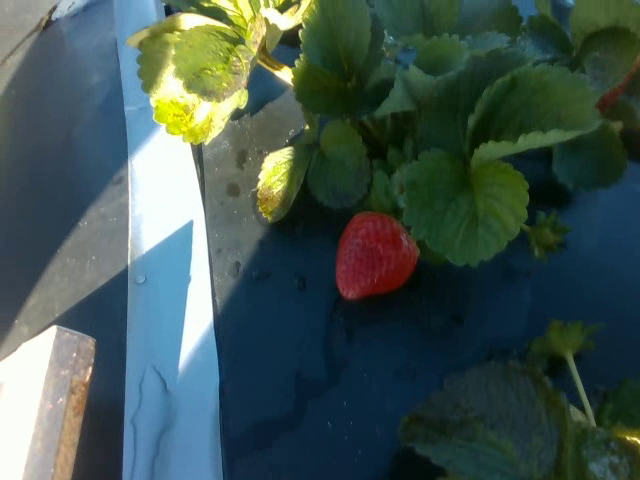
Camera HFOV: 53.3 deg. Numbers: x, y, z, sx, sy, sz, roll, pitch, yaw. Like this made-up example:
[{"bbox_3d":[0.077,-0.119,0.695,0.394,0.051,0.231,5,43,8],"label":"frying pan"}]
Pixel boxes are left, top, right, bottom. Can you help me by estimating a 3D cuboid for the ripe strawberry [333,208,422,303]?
[{"bbox_3d":[0.025,0.009,0.309,0.045,0.059,0.042,4,-39,49],"label":"ripe strawberry"}]
